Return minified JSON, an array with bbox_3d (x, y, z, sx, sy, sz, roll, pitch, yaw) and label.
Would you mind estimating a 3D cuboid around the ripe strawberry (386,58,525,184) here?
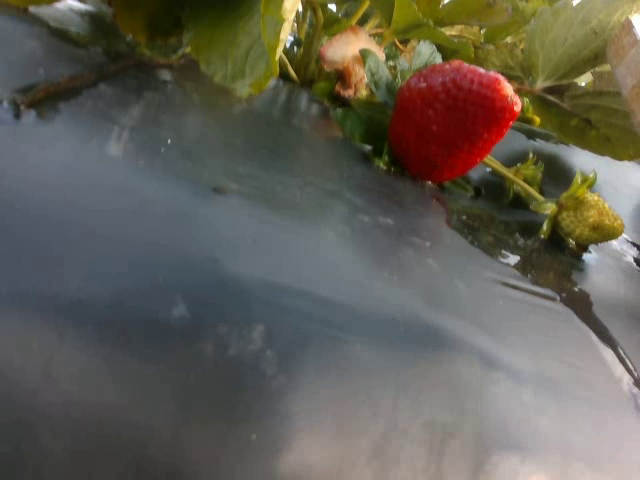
[{"bbox_3d":[0.056,-0.047,0.223,0.043,0.052,0.057,-12,-4,-21],"label":"ripe strawberry"}]
